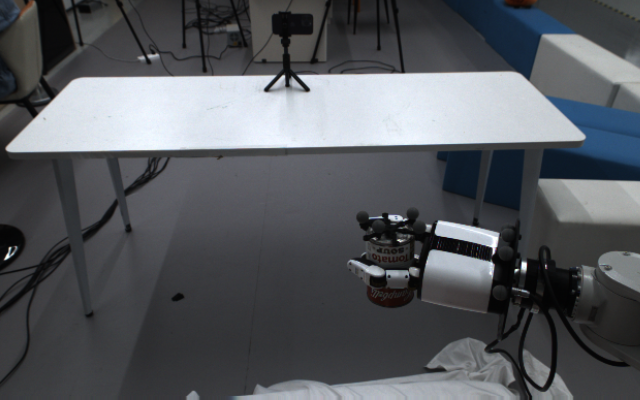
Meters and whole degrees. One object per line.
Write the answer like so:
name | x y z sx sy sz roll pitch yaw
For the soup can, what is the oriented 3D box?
soup can | 0.100 0.088 0.672 0.067 0.101 0.067 -4 26 2
